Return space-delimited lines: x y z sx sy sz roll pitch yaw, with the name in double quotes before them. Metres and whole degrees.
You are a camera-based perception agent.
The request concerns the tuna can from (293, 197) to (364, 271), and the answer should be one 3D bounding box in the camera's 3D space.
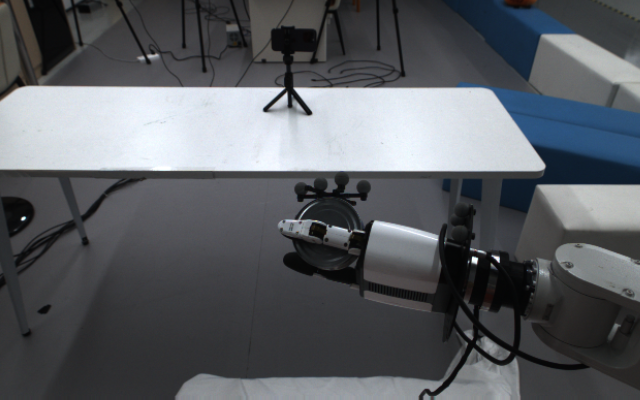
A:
"tuna can" 0.012 0.040 0.582 0.085 0.034 0.085 -5 70 15
